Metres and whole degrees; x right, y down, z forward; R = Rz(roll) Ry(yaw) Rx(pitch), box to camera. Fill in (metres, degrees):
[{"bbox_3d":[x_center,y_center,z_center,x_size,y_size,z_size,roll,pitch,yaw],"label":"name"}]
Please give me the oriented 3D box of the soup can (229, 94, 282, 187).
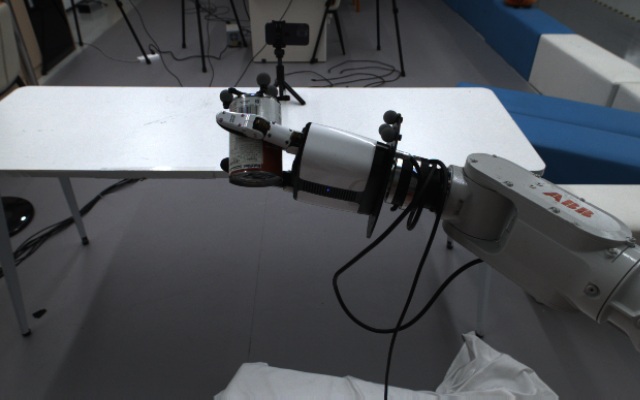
[{"bbox_3d":[-0.079,-0.073,0.607,0.067,0.067,0.101,-2,77,-6],"label":"soup can"}]
